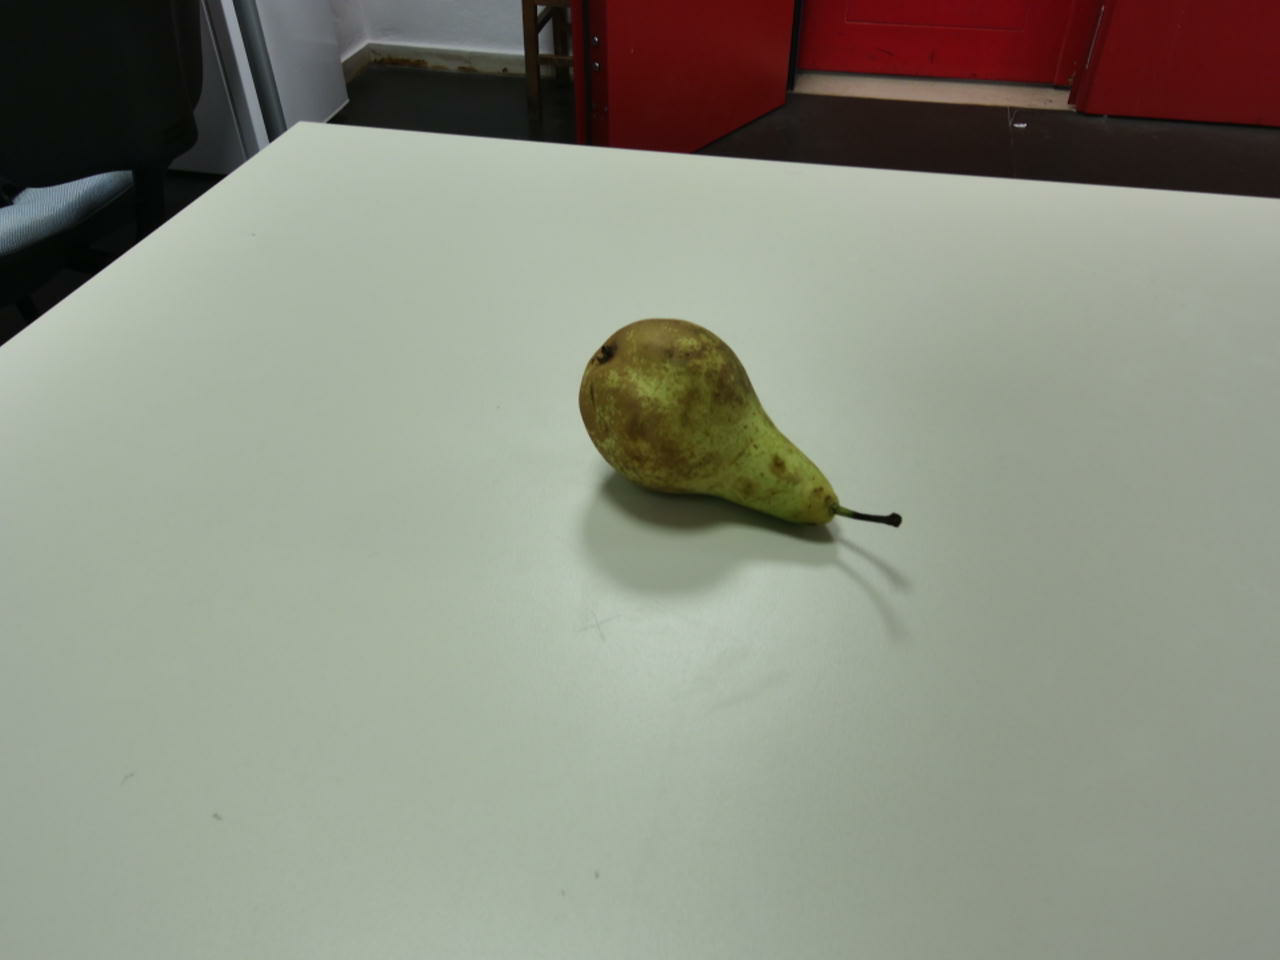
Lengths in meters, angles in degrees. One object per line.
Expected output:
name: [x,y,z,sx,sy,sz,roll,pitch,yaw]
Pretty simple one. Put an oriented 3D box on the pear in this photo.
pear: [0.044,-0.025,0.422,0.144,0.075,0.071,13,40,16]
